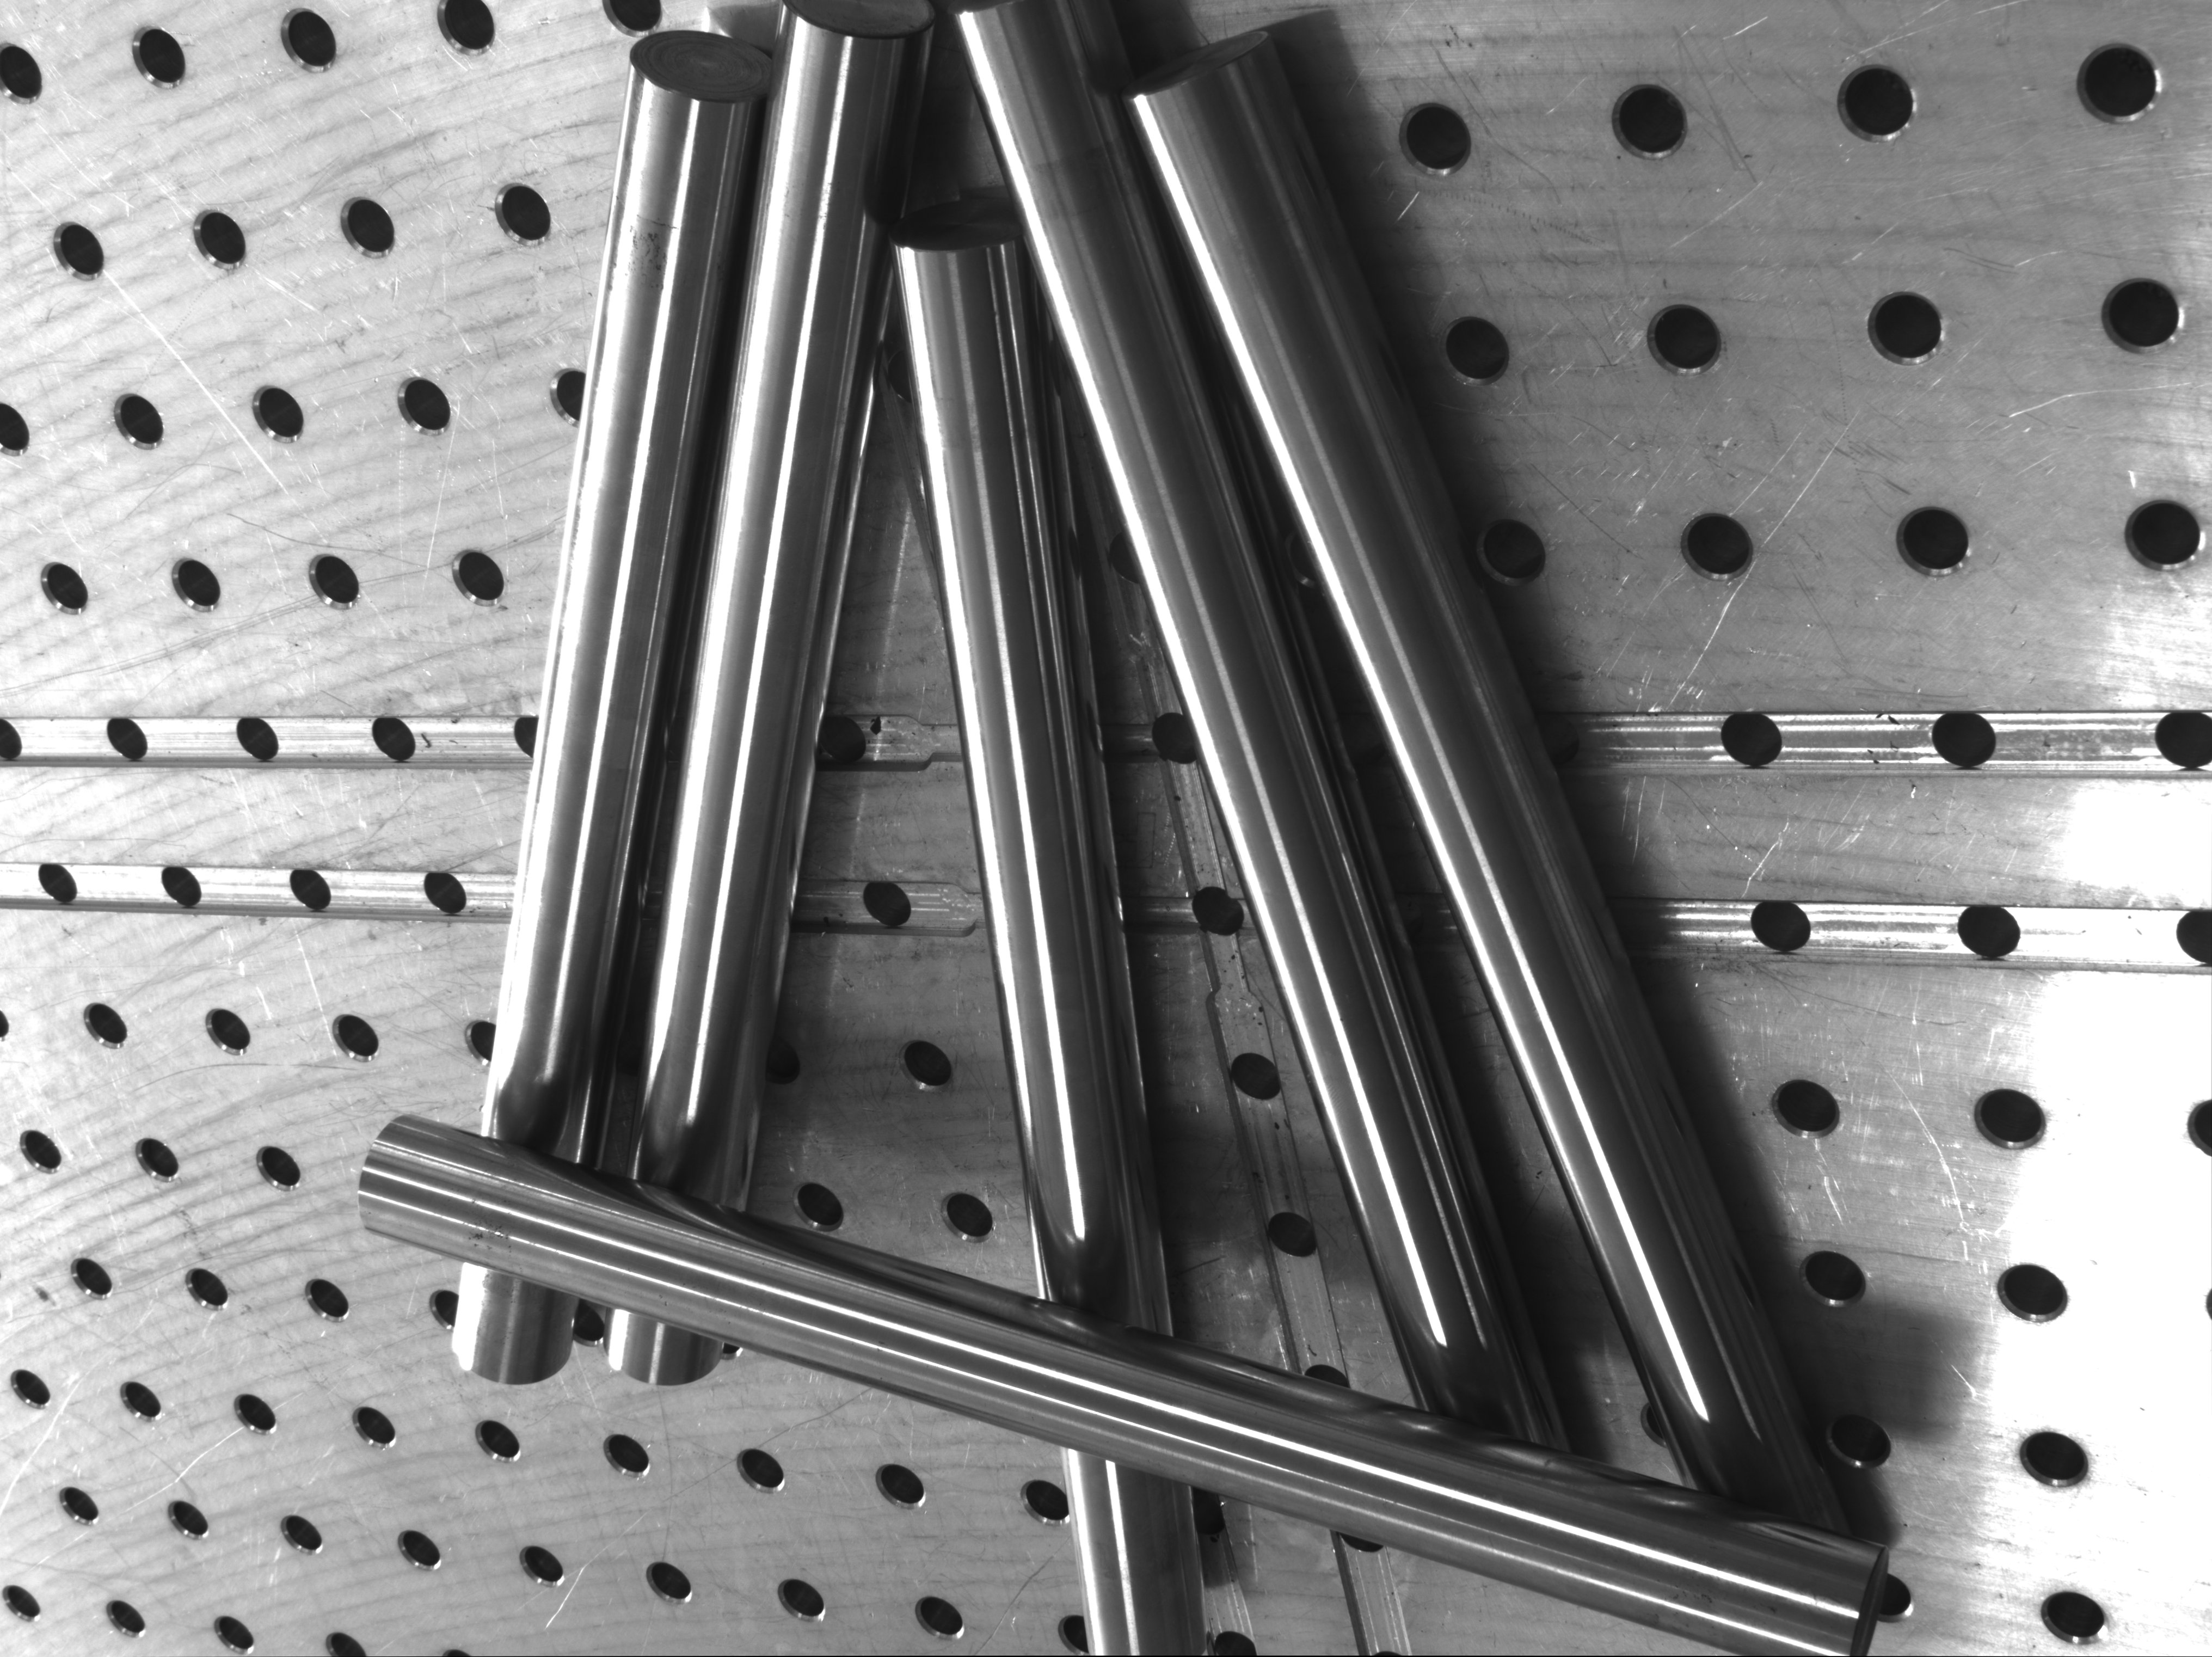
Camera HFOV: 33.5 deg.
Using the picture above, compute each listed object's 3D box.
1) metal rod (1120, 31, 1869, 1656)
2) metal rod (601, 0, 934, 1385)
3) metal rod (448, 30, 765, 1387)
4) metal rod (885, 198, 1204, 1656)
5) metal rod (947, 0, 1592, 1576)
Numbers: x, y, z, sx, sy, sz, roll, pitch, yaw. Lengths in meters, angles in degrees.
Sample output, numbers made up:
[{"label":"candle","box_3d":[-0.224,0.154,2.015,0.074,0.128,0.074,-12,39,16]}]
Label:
[{"label":"metal rod","box_3d":[0.070,0.012,0.616,0.025,0.025,0.300,-10,113,33]},{"label":"metal rod","box_3d":[-0.066,-0.013,0.674,0.025,0.025,0.300,23,127,14]},{"label":"metal rod","box_3d":[-0.097,-0.008,0.693,0.025,0.025,0.300,24,127,14]},{"label":"metal rod","box_3d":[-0.008,0.032,0.670,0.025,0.025,0.300,8,122,24]},{"label":"metal rod","box_3d":[0.033,0.000,0.629,0.025,0.025,0.300,-5,116,31]}]
